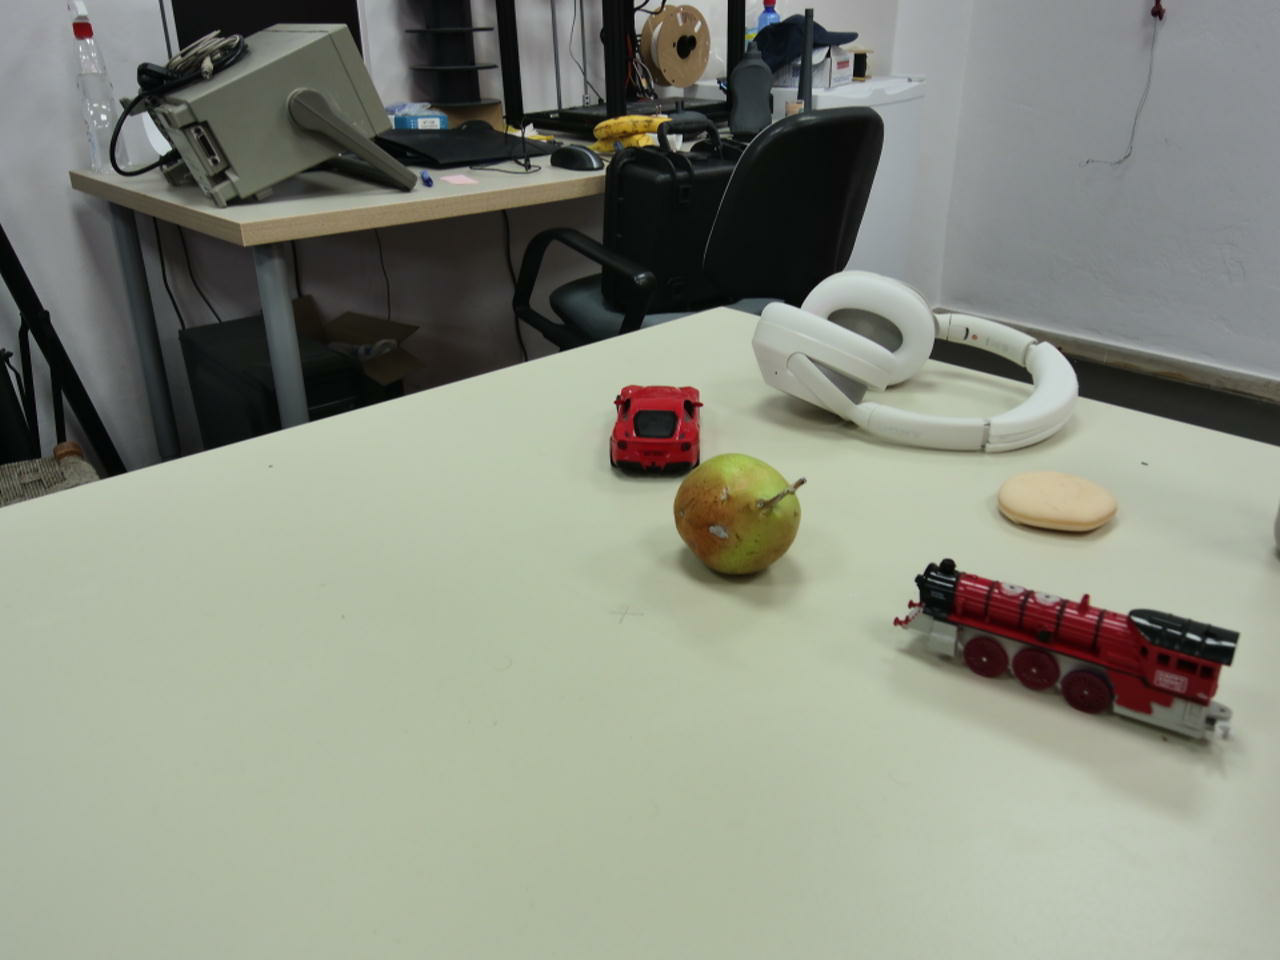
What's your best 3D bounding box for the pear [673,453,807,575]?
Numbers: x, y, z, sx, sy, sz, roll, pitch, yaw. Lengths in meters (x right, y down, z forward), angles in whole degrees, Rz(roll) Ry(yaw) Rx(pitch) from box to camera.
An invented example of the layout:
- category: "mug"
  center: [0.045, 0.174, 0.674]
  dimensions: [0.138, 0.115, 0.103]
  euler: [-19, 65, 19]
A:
- category: "pear"
  center: [0.051, 0.016, 0.530]
  dimensions: [0.068, 0.069, 0.070]
  euler: [5, 24, 9]
